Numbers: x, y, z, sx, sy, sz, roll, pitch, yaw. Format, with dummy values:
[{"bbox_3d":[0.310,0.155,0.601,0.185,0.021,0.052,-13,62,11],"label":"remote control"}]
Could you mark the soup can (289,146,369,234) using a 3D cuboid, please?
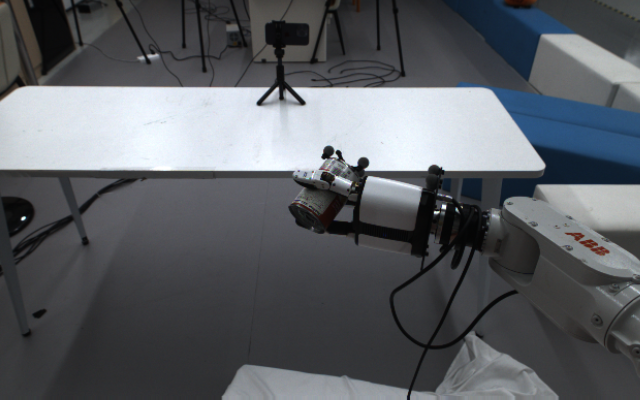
[{"bbox_3d":[0.008,-0.007,0.748,0.067,0.067,0.101,25,66,30],"label":"soup can"}]
